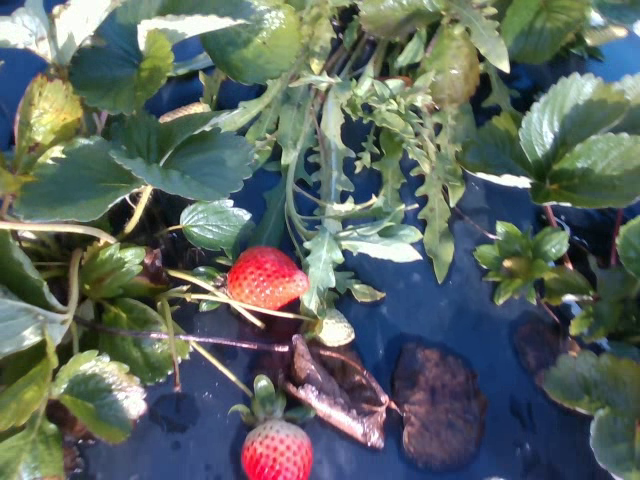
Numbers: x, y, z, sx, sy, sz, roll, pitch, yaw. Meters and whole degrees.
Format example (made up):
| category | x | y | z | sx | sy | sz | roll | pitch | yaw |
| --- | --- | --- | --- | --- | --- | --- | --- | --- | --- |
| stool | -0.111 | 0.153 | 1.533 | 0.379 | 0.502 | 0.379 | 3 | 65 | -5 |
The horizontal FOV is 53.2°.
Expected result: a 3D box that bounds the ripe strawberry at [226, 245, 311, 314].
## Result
| category | x | y | z | sx | sy | sz | roll | pitch | yaw |
| --- | --- | --- | --- | --- | --- | --- | --- | --- | --- |
| ripe strawberry | -0.024 | 0.017 | 0.308 | 0.048 | 0.040 | 0.031 | -4 | -34 | 45 |
